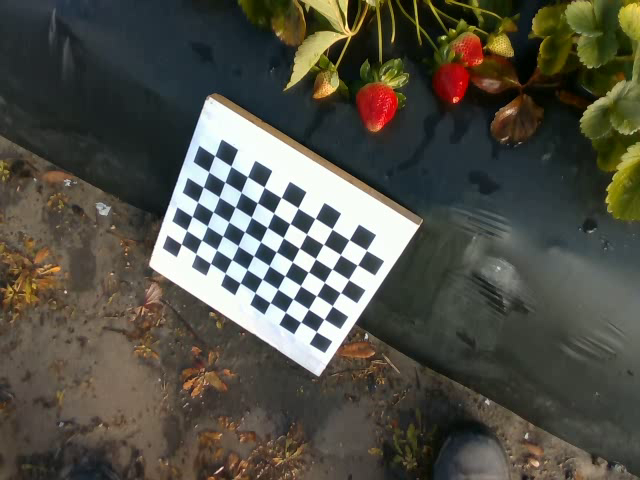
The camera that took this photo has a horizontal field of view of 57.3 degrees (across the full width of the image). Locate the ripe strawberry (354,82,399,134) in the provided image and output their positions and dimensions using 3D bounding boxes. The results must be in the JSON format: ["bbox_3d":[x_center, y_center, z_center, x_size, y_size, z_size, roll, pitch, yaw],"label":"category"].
[{"bbox_3d":[0.061,-0.146,0.642,0.050,0.065,0.050,-4,-34,26],"label":"ripe strawberry"}]

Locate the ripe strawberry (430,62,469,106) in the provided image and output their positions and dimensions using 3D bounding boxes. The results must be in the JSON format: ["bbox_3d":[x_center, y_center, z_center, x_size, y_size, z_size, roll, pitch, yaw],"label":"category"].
[{"bbox_3d":[0.144,-0.169,0.644,0.044,0.055,0.041,-30,-42,31],"label":"ripe strawberry"}]
